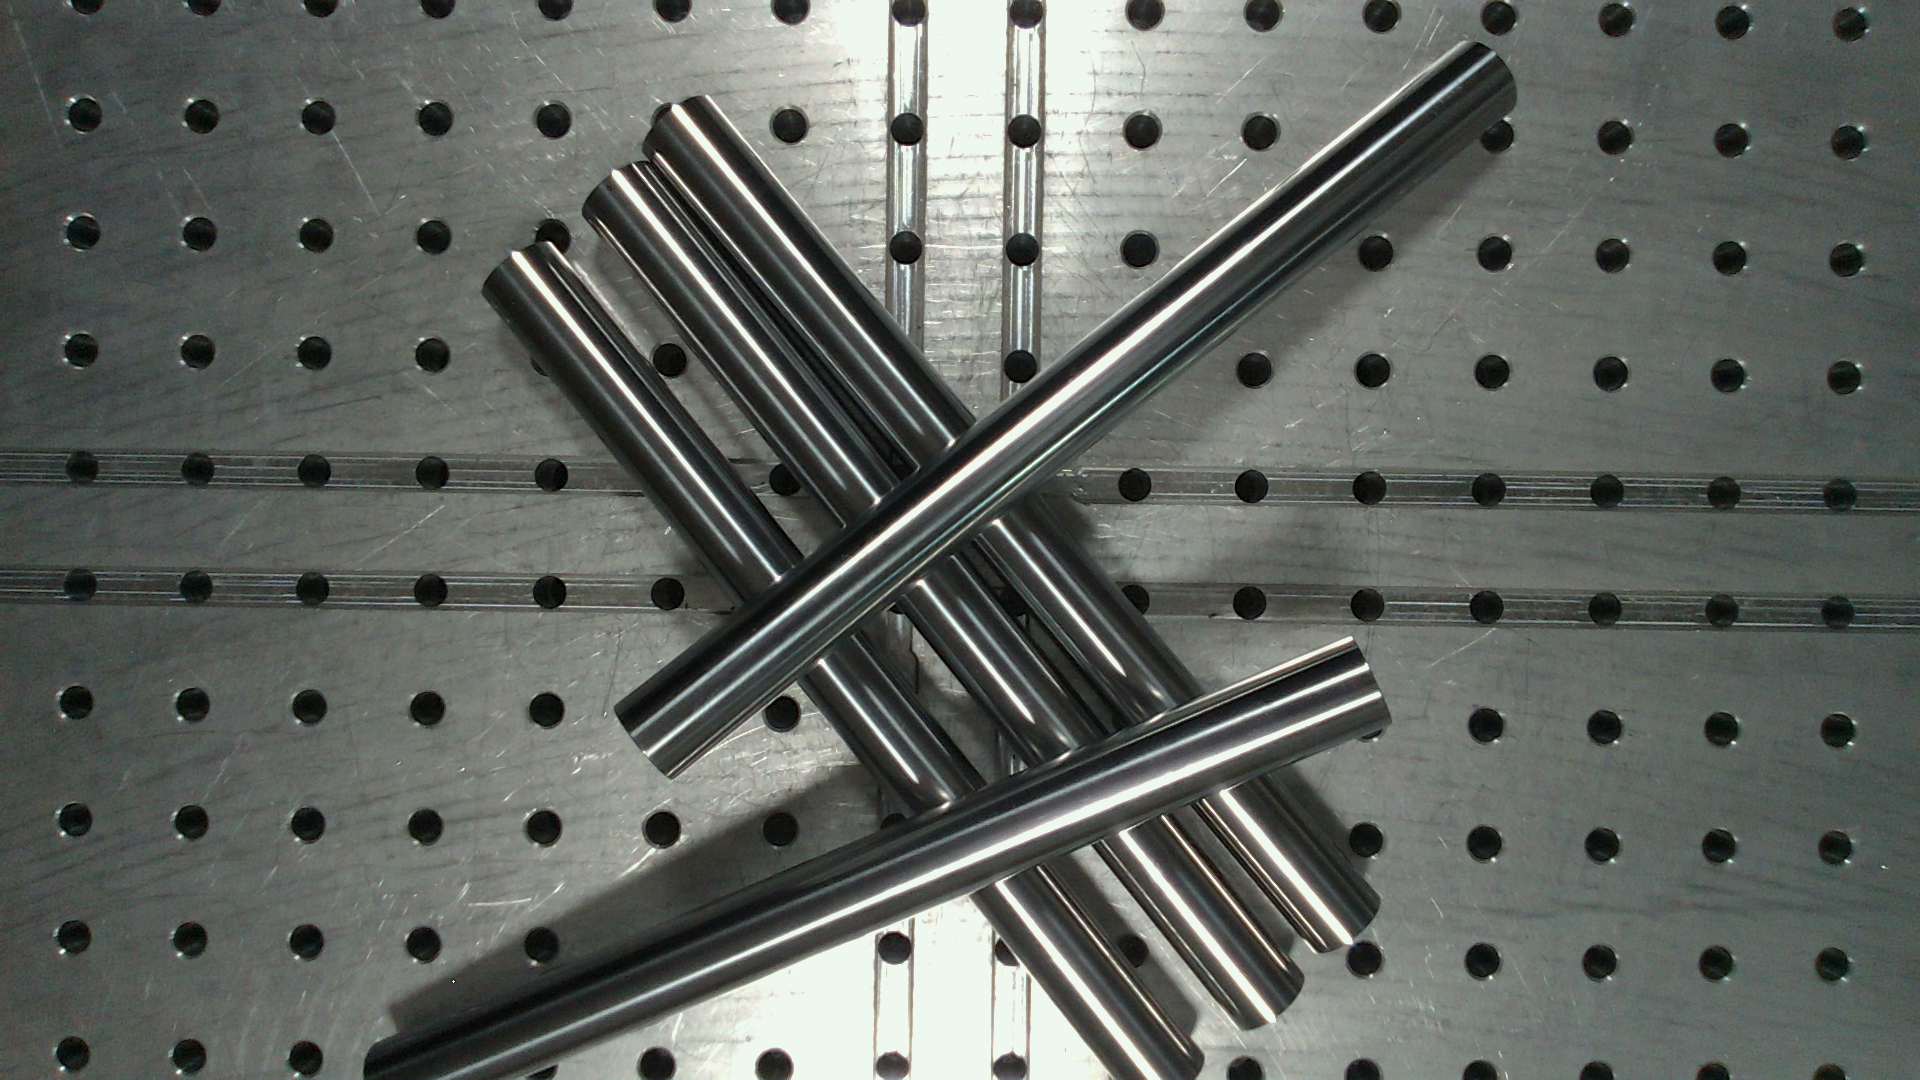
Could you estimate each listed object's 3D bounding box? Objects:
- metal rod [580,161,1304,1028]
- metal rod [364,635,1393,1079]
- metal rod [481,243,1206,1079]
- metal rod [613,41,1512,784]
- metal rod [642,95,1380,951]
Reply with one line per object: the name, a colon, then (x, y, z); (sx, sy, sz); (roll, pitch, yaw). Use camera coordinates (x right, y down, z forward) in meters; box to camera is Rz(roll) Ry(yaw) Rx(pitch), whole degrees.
metal rod: (-0.005, 0.016, 0.398); (0.025, 0.025, 0.300); (-39, 90, 0)
metal rod: (-0.029, 0.096, 0.377); (0.300, 0.025, 0.025); (-24, 90, 8)
metal rod: (-0.033, 0.039, 0.397); (0.025, 0.025, 0.300); (-39, 90, 0)
metal rod: (0.034, -0.040, 0.377); (0.300, 0.025, 0.025); (-39, 90, -8)
metal rod: (0.015, -0.005, 0.397); (0.025, 0.025, 0.300); (-40, 90, 0)
